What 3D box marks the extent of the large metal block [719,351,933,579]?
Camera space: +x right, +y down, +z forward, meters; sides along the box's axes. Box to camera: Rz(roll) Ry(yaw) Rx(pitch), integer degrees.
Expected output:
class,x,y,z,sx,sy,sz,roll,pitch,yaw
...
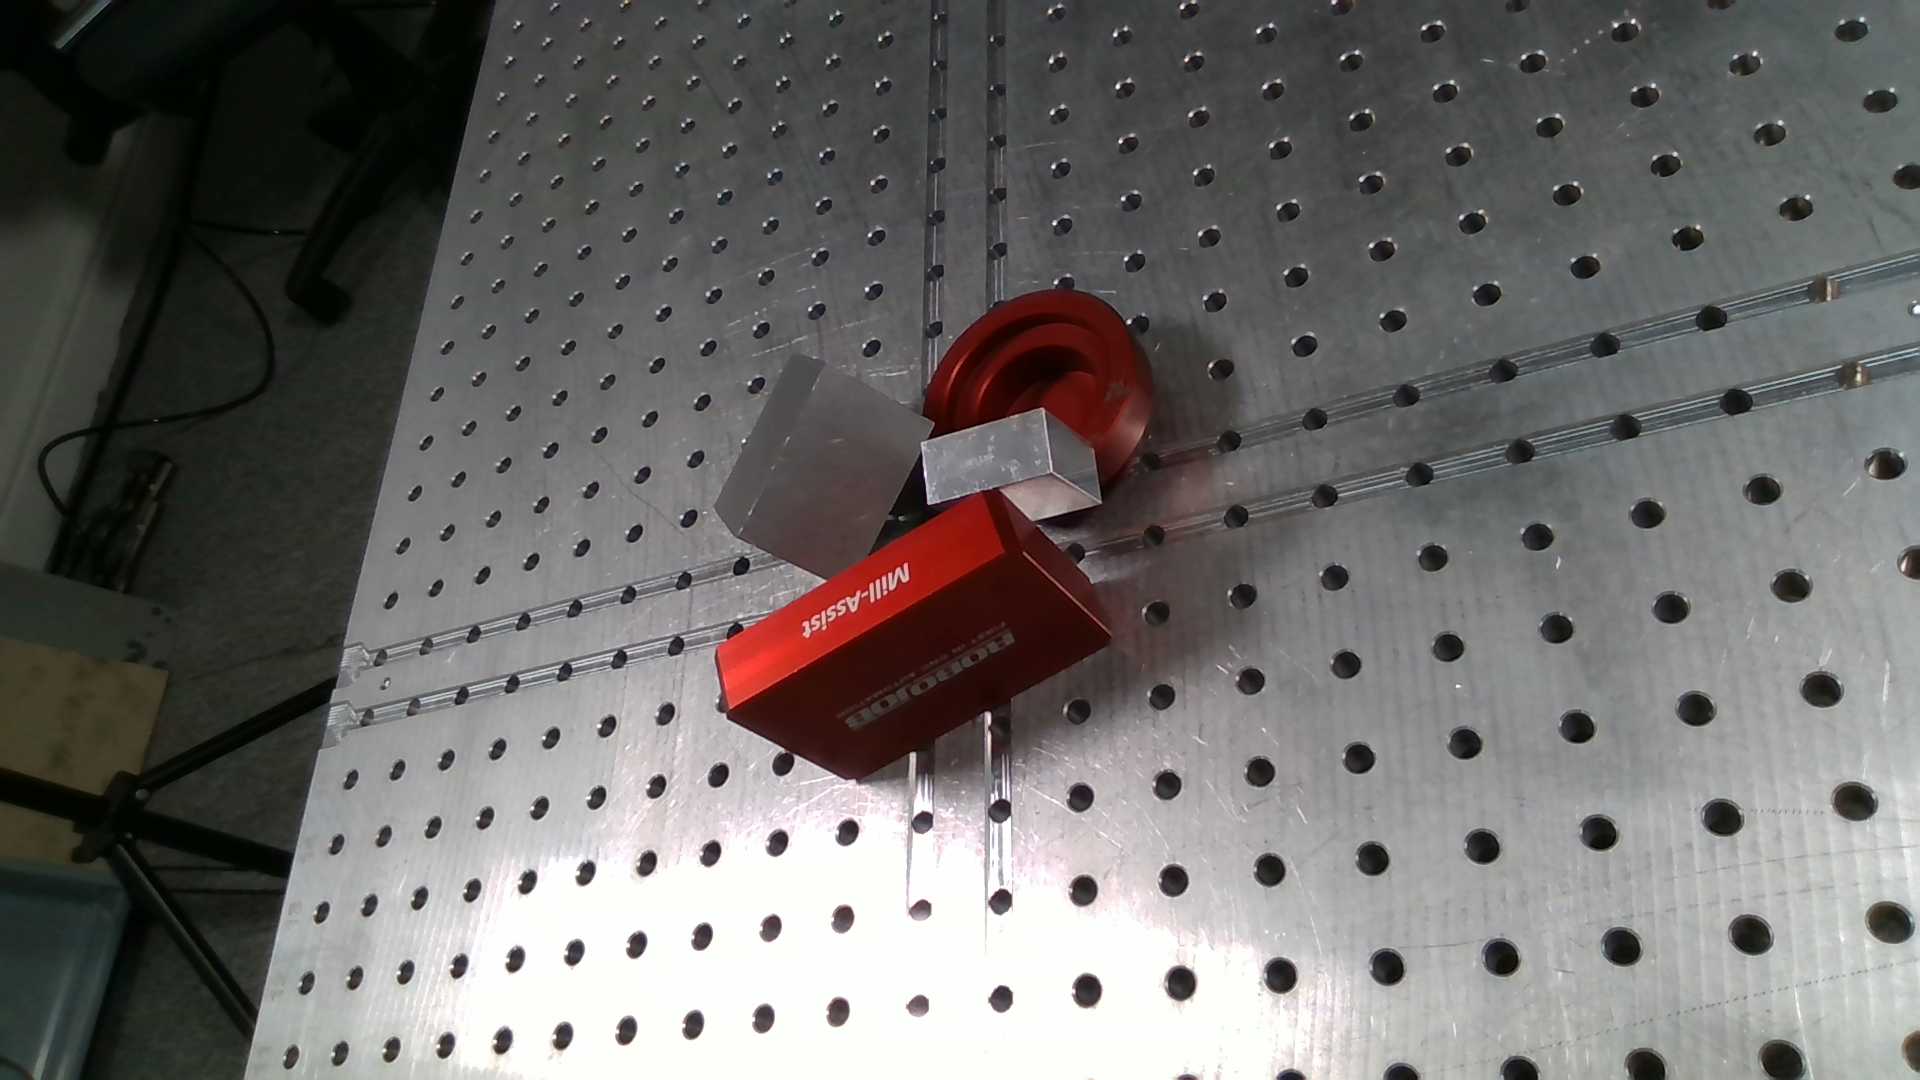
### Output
class,x,y,z,sx,sy,sz,roll,pitch,yaw
large metal block,-0.062,-0.033,0.598,0.080,0.050,0.080,-63,19,2

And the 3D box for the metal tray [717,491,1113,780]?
class,x,y,z,sx,sy,sz,roll,pitch,yaw
metal tray,-0.017,0.041,0.535,0.130,0.090,0.030,-30,53,15

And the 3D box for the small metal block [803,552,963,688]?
class,x,y,z,sx,sy,sz,roll,pitch,yaw
small metal block,-0.032,0.034,0.584,0.050,0.025,0.050,-5,52,34

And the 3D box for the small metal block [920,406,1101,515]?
class,x,y,z,sx,sy,sz,roll,pitch,yaw
small metal block,0.020,-0.026,0.521,0.050,0.050,0.025,-14,73,24

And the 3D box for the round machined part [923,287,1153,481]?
class,x,y,z,sx,sy,sz,roll,pitch,yaw
round machined part,0.036,-0.054,0.584,0.098,0.042,0.098,-14,59,25
